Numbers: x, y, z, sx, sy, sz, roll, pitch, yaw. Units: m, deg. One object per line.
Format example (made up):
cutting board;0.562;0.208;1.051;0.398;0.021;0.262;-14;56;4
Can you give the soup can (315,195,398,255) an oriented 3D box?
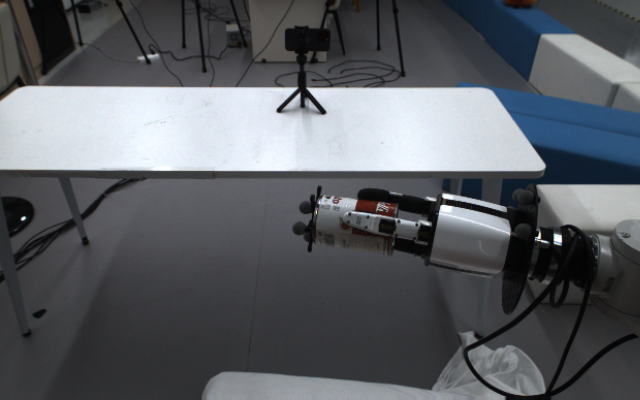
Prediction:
soup can;0.049;0.031;0.627;0.101;0.067;0.067;6;35;11
